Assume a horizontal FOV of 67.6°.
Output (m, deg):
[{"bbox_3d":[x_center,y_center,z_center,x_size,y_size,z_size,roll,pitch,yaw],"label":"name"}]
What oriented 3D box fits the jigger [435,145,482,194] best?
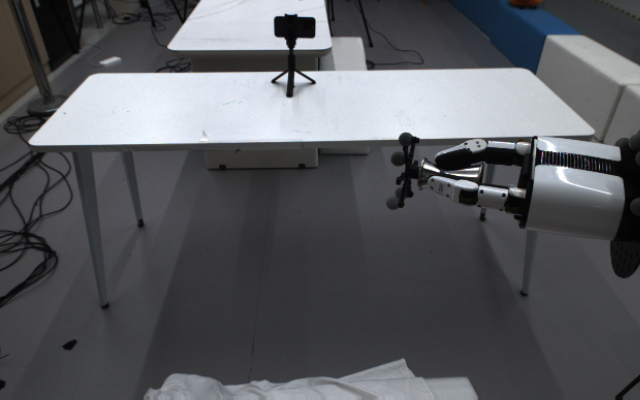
[{"bbox_3d":[0.159,-0.028,0.566,0.071,0.043,0.043,10,35,22],"label":"jigger"}]
